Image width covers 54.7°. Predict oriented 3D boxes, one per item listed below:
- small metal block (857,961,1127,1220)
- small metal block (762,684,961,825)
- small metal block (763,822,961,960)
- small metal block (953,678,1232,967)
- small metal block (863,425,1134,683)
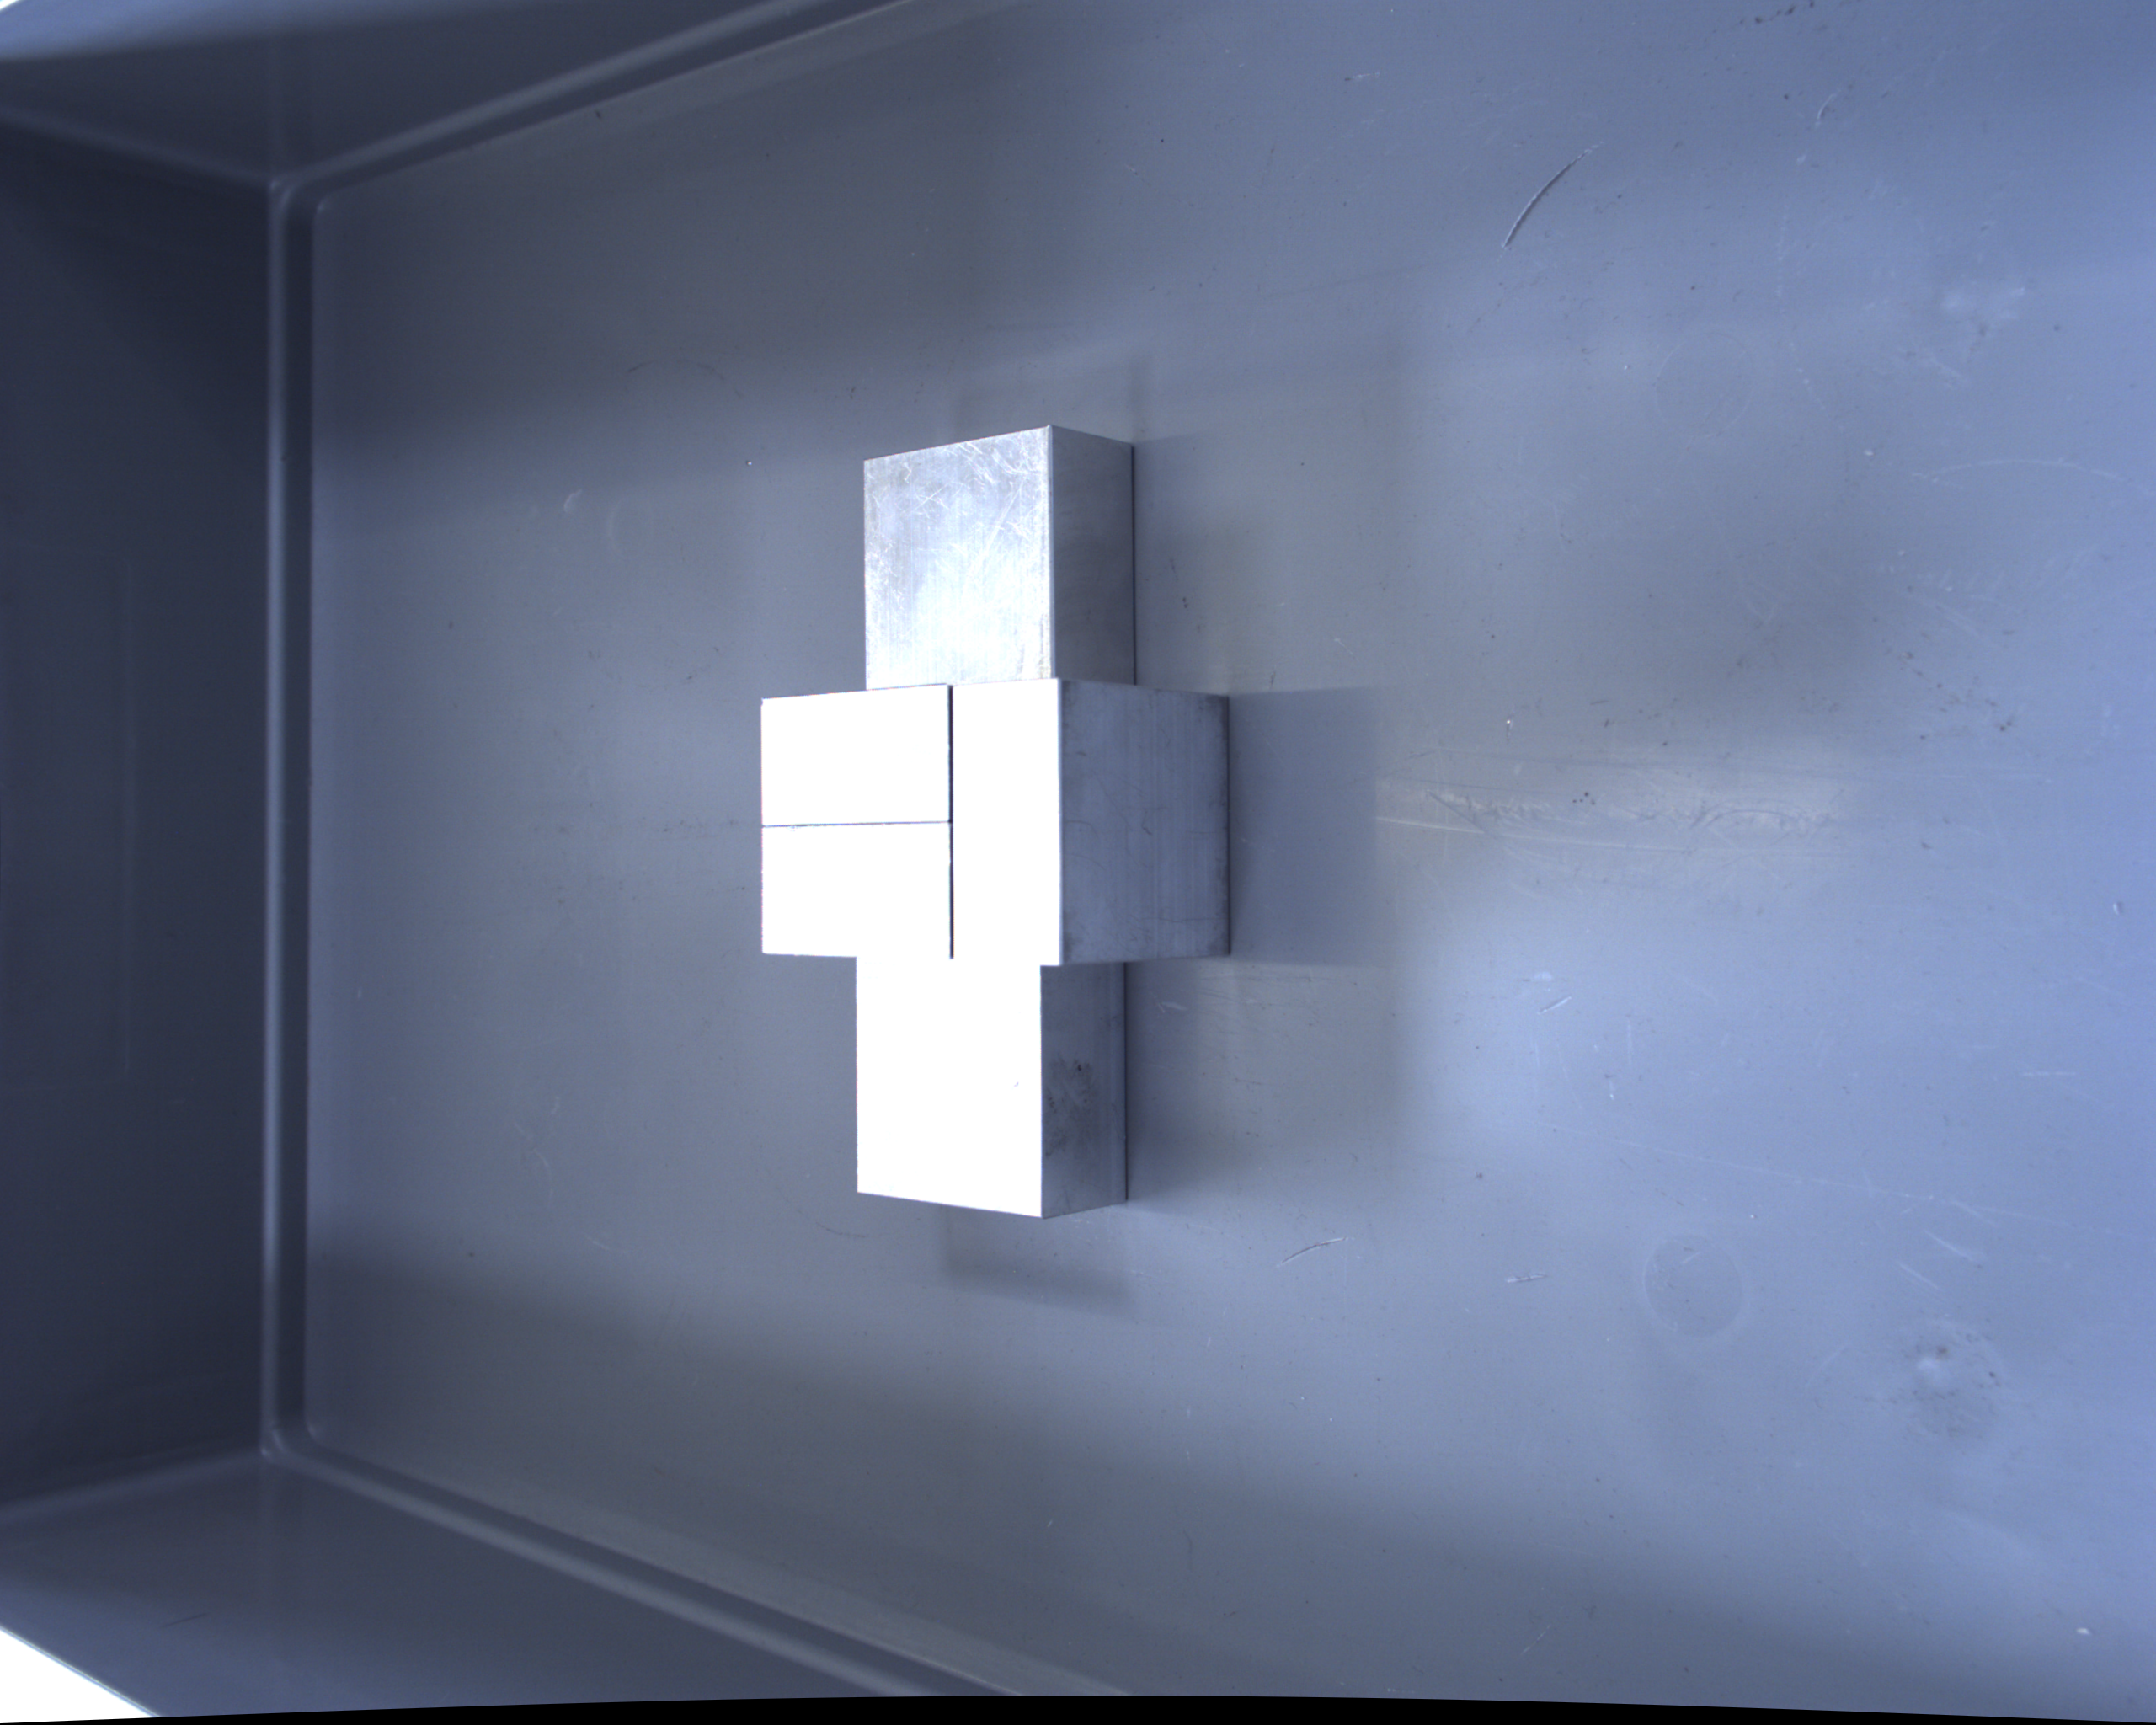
[{"bbox_3d":[-0.018,0.043,0.419,0.050,0.025,0.050,0,90,40],"label":"small metal block"},{"bbox_3d":[-0.026,-0.020,0.410,0.050,0.050,0.025,0,90,40],"label":"small metal block"},{"bbox_3d":[-0.026,0.005,0.410,0.050,0.050,0.025,0,90,40],"label":"small metal block"},{"bbox_3d":[0.003,-0.007,0.386,0.025,0.050,0.050,0,90,40],"label":"small metal block"},{"bbox_3d":[-0.016,-0.058,0.418,0.050,0.025,0.050,0,90,40],"label":"small metal block"}]
